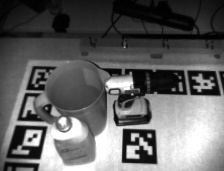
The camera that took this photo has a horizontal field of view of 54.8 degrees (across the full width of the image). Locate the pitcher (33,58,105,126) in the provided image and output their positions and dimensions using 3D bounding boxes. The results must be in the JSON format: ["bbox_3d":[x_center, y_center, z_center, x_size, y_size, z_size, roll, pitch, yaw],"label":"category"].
[{"bbox_3d":[-0.099,0.031,0.582,0.189,0.244,0.132,-23,64,-9],"label":"pitcher"}]

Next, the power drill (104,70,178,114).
[{"bbox_3d":[0.070,0.022,0.592,0.185,0.187,0.057,-2,65,-4],"label":"power drill"}]

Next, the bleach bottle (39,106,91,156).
[{"bbox_3d":[-0.117,0.110,0.518,0.102,0.252,0.067,-6,62,1],"label":"bleach bottle"}]
